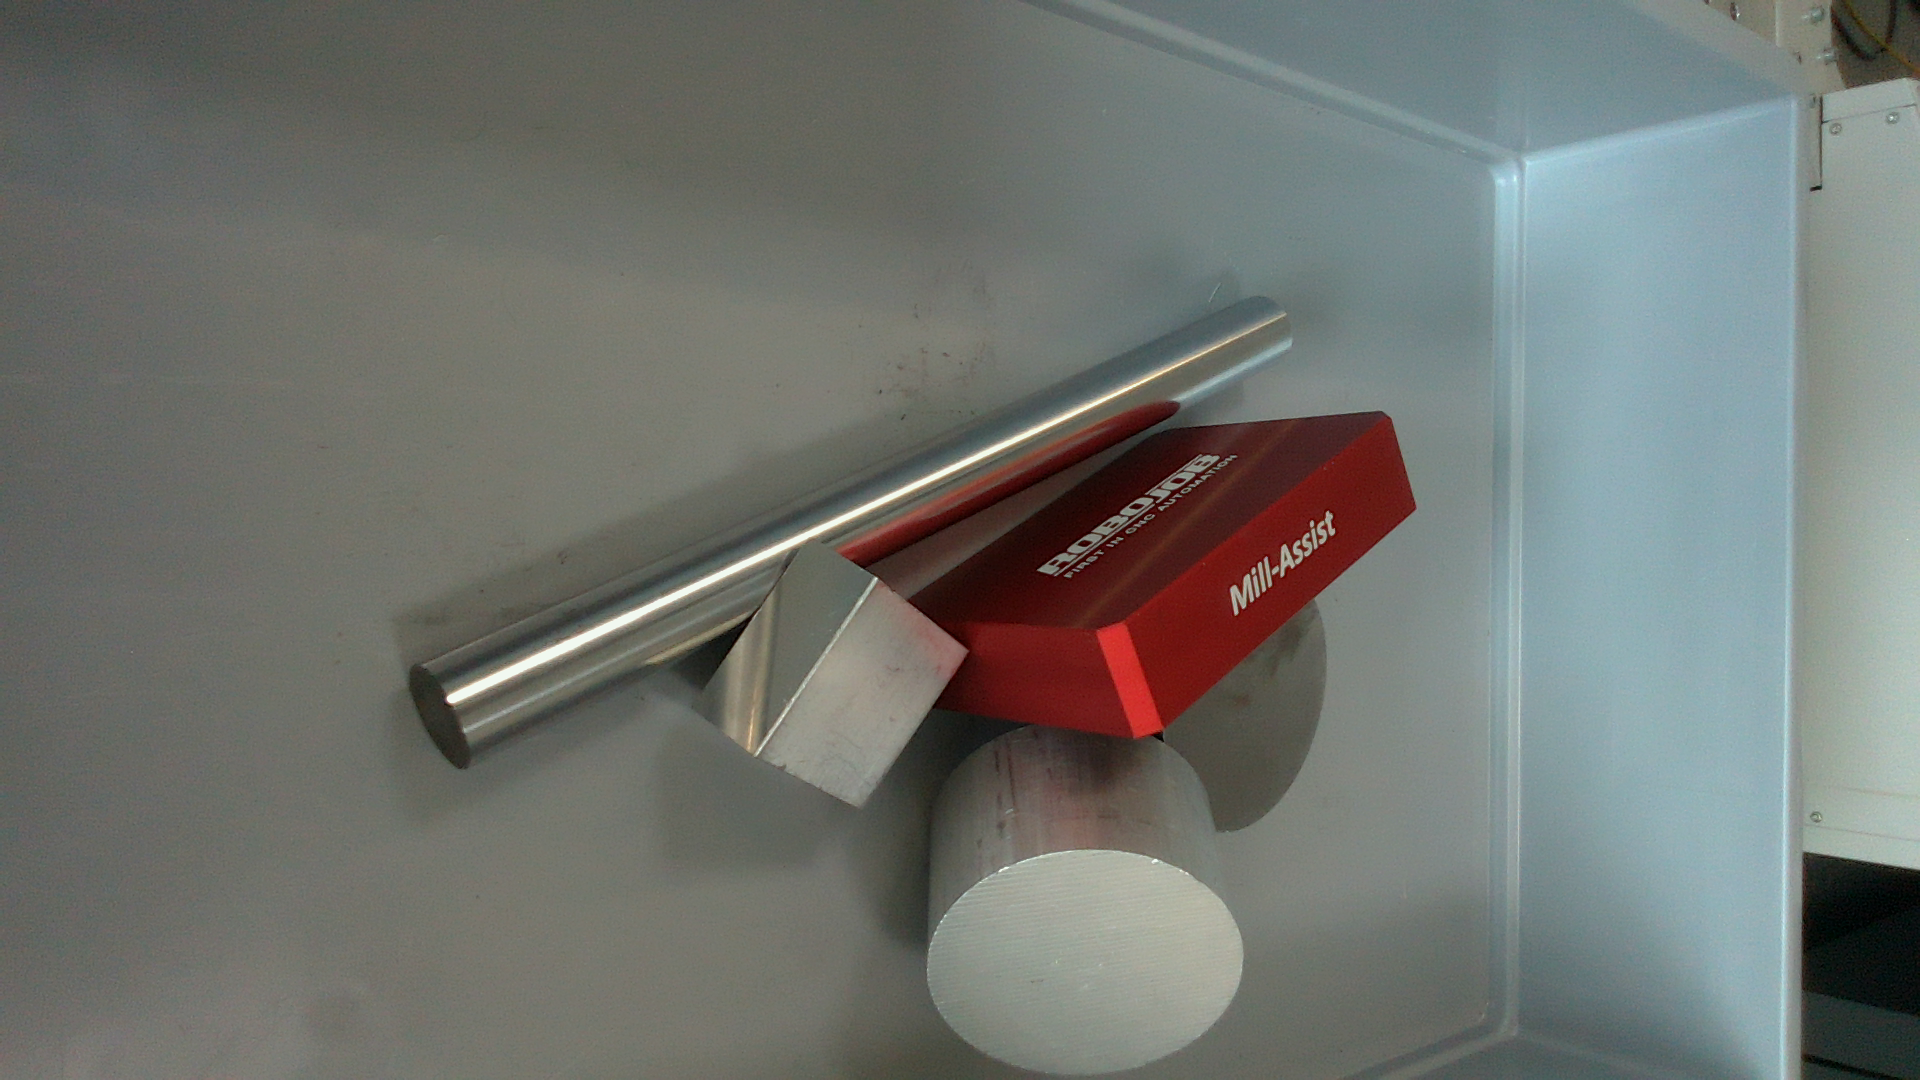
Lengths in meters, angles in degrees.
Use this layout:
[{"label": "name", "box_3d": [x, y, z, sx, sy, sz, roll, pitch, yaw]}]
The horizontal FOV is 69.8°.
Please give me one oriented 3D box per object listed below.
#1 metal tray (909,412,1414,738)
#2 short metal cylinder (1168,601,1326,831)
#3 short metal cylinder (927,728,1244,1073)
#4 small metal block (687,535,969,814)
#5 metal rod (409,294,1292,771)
[{"label": "metal tray", "box_3d": [0.056, 0.005, 0.392, 0.130, 0.090, 0.030, -33, 111, -35]}, {"label": "short metal cylinder", "box_3d": [0.068, 0.043, 0.421, 0.080, 0.050, 0.080, -11, 106, -42]}, {"label": "short metal cylinder", "box_3d": [0.032, 0.095, 0.369, 0.080, 0.080, 0.050, 55, 17, -26]}, {"label": "small metal block", "box_3d": [-0.031, 0.035, 0.344, 0.050, 0.025, 0.050, -56, 143, -7]}, {"label": "metal rod", "box_3d": [-0.004, -0.017, 0.384, 0.301, 0.025, 0.025, -27, 107, -37]}]
